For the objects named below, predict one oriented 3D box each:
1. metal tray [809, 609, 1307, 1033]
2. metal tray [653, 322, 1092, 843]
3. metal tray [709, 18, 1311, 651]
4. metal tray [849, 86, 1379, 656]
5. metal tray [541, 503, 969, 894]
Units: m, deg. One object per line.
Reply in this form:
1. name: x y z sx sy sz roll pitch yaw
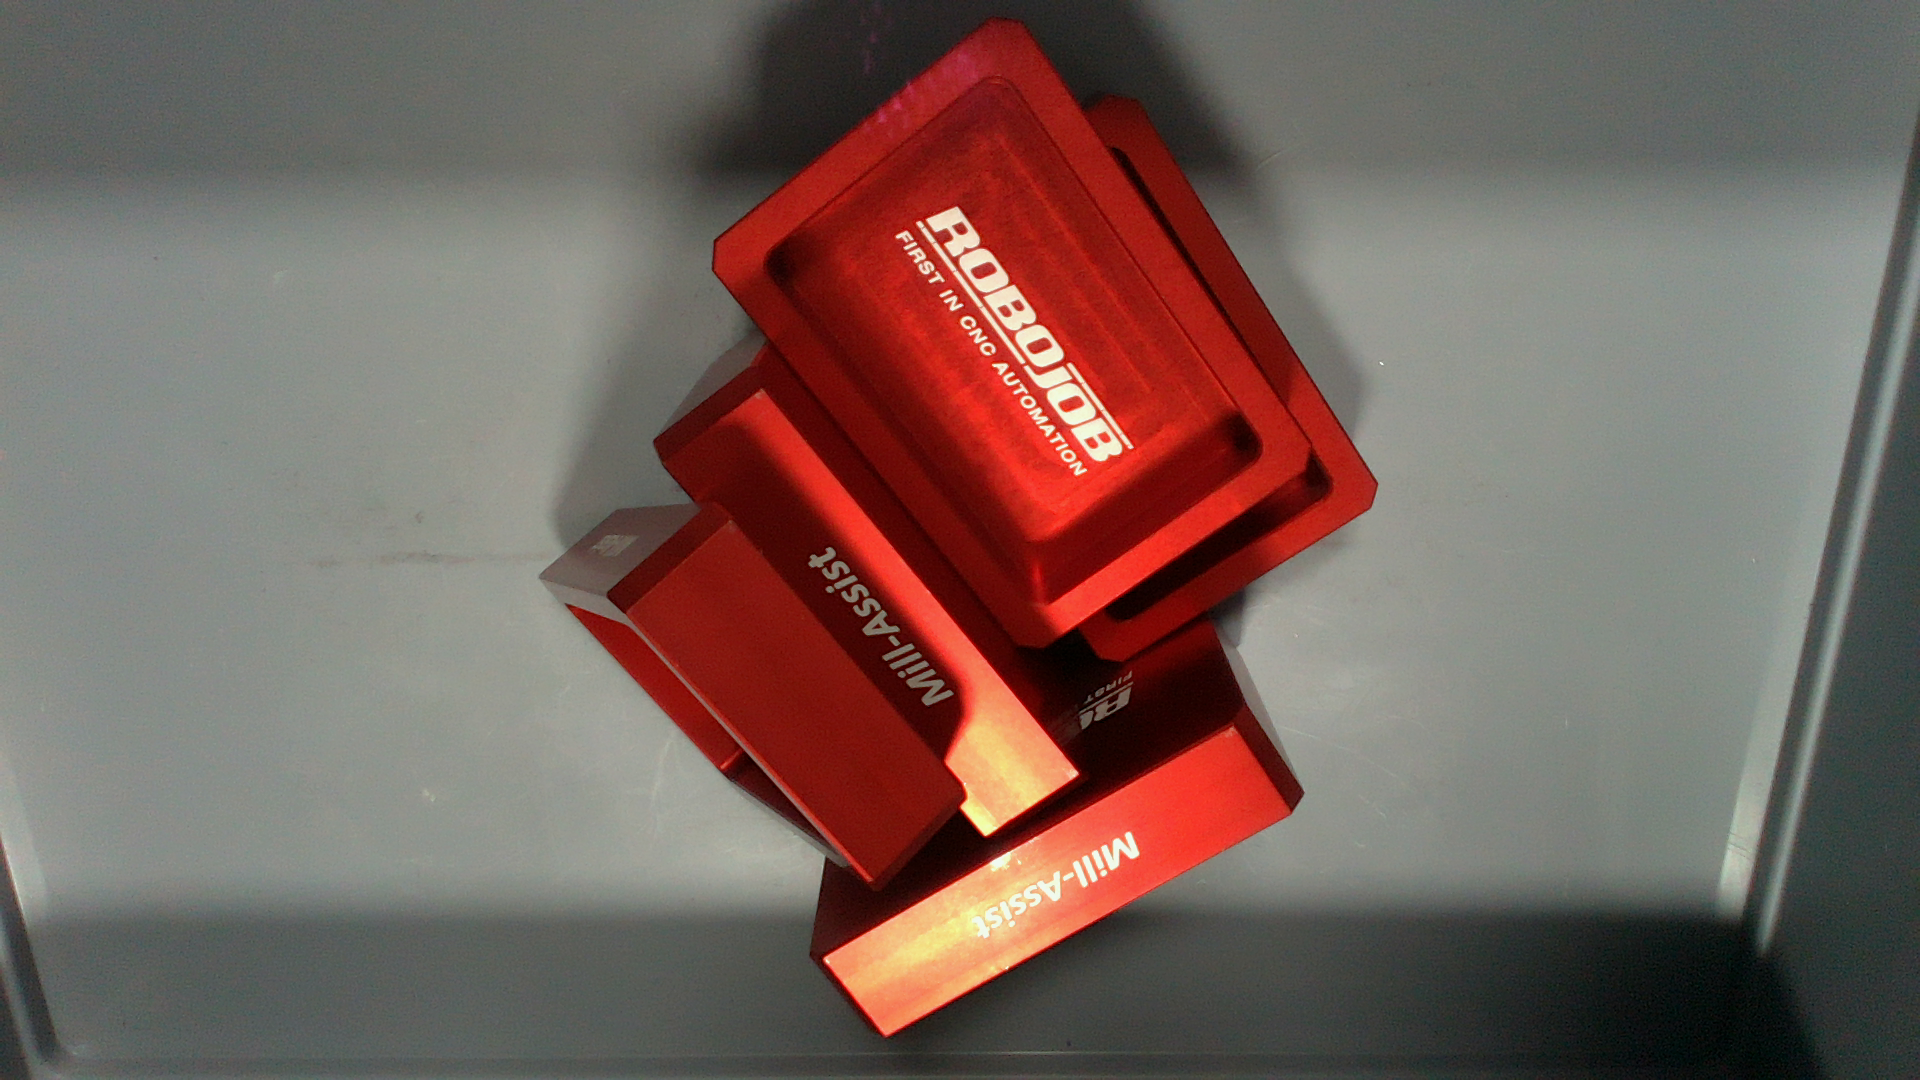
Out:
1. metal tray: 0.023 0.071 0.384 0.130 0.090 0.030 -31 107 11
2. metal tray: -0.018 0.005 0.359 0.030 0.090 0.130 -35 107 12
3. metal tray: 0.014 -0.048 0.340 0.090 0.030 0.130 -35 106 12
4. metal tray: 0.042 -0.044 0.375 0.090 0.030 0.130 -32 106 12
5. metal tray: -0.059 0.035 0.351 0.030 0.130 0.090 -44 107 -17
